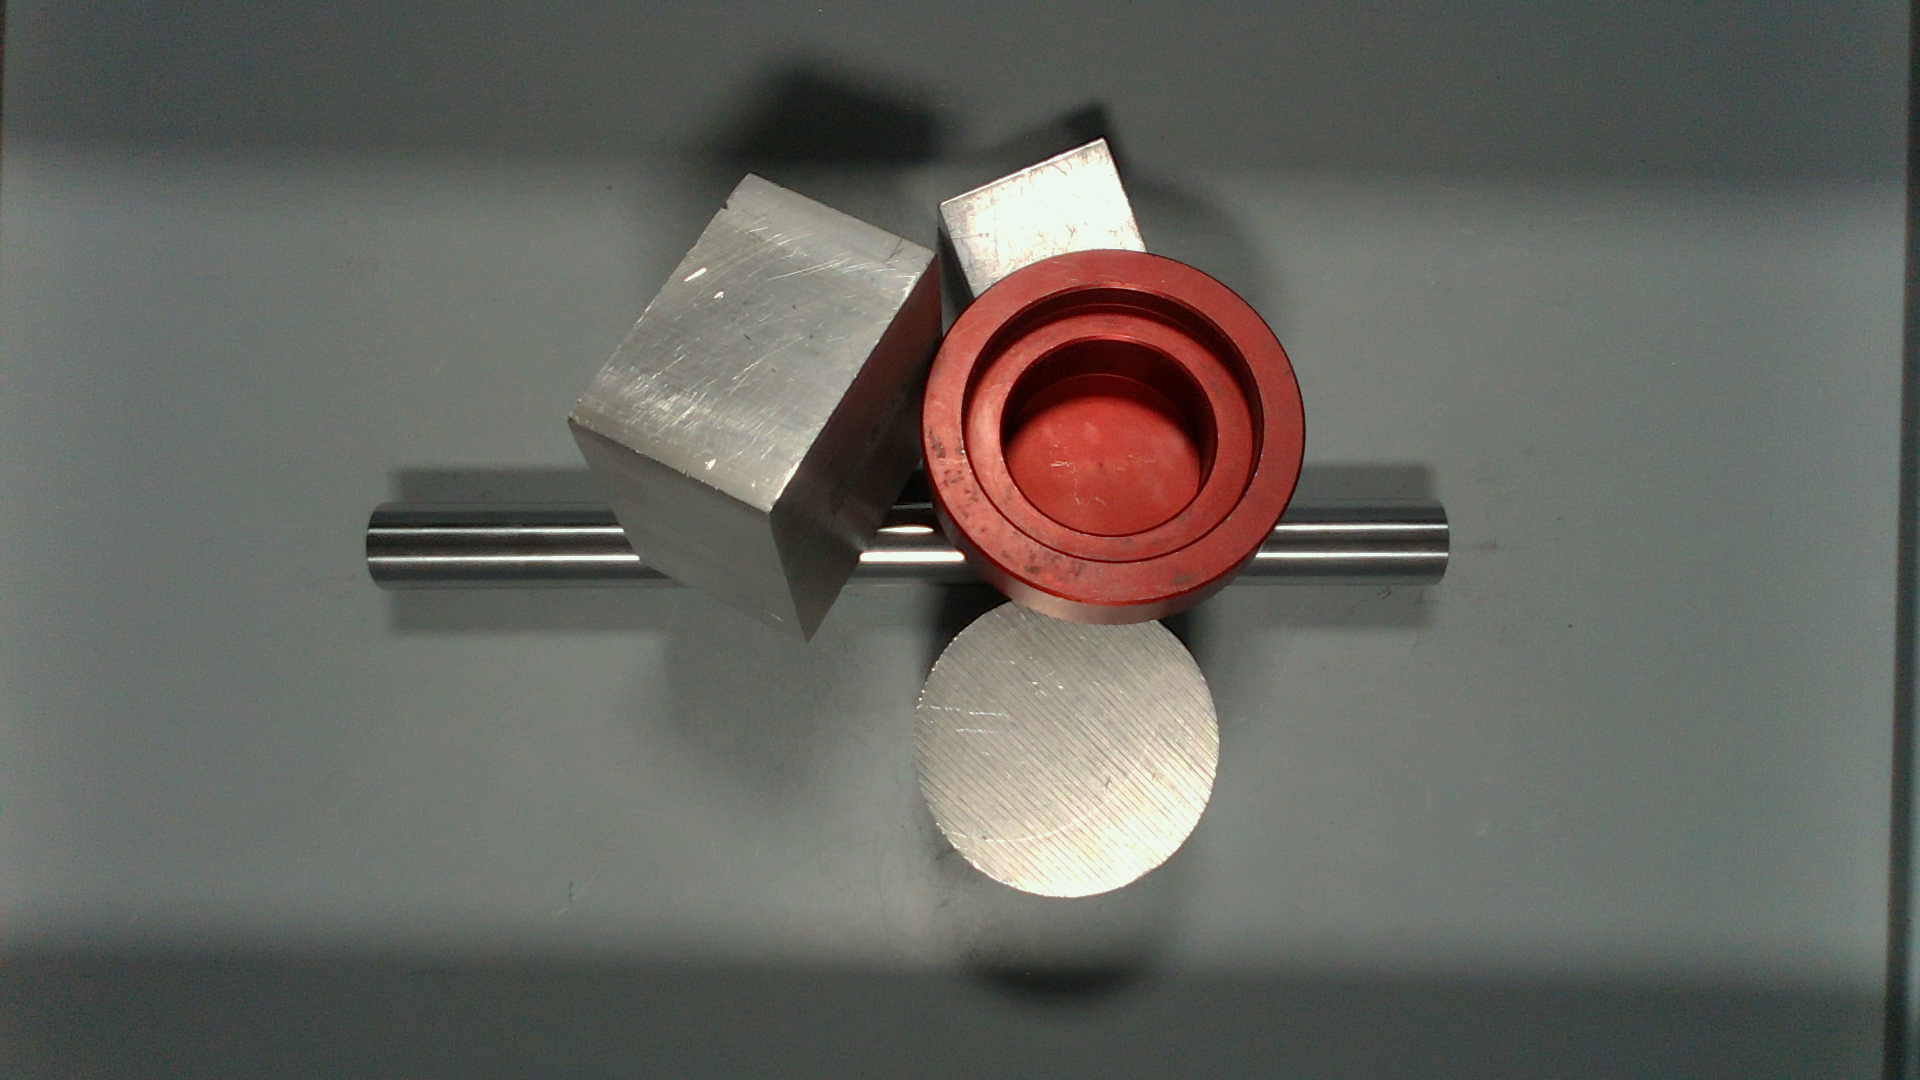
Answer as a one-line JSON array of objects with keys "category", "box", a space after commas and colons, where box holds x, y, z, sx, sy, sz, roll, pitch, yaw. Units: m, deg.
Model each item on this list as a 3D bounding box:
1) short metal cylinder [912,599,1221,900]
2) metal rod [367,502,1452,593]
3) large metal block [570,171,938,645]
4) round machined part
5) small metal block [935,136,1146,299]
[{"category": "short metal cylinder", "box": [0.028, 0.053, 0.381, 0.080, 0.050, 0.080, 0, 90, 0]}, {"category": "metal rod", "box": [-0.014, 0.002, 0.393, 0.300, 0.025, 0.025, 0, 90, 0]}, {"category": "large metal block", "box": [-0.046, -0.031, 0.352, 0.050, 0.080, 0.080, 25, 67, 11]}, {"category": "round machined part", "box": [0.039, -0.024, 0.367, 0.098, 0.042, 0.098, 0, 73, 0]}, {"category": "small metal block", "box": [0.026, -0.080, 0.395, 0.050, 0.025, 0.050, -21, 90, 0]}]
